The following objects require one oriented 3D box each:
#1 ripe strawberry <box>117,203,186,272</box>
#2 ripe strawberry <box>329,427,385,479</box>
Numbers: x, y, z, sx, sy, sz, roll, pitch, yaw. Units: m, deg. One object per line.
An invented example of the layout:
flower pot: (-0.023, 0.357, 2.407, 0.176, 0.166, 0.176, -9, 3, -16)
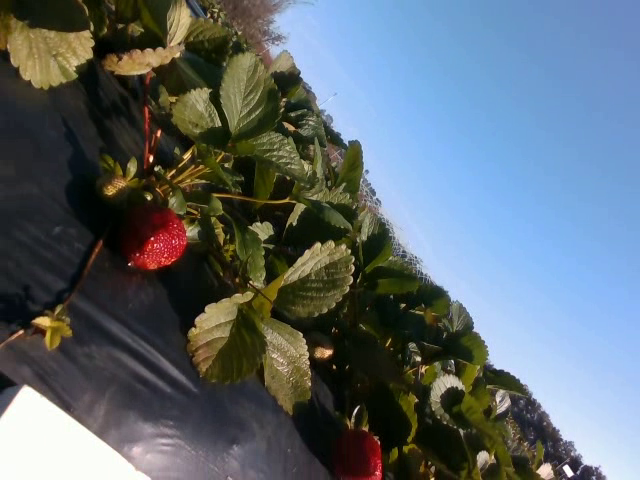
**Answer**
ripe strawberry: (-0.090, -0.001, 0.320, 0.043, 0.042, 0.053, -31, 20, -9)
ripe strawberry: (0.027, 0.151, 0.399, 0.043, 0.043, 0.050, -15, 0, -15)
